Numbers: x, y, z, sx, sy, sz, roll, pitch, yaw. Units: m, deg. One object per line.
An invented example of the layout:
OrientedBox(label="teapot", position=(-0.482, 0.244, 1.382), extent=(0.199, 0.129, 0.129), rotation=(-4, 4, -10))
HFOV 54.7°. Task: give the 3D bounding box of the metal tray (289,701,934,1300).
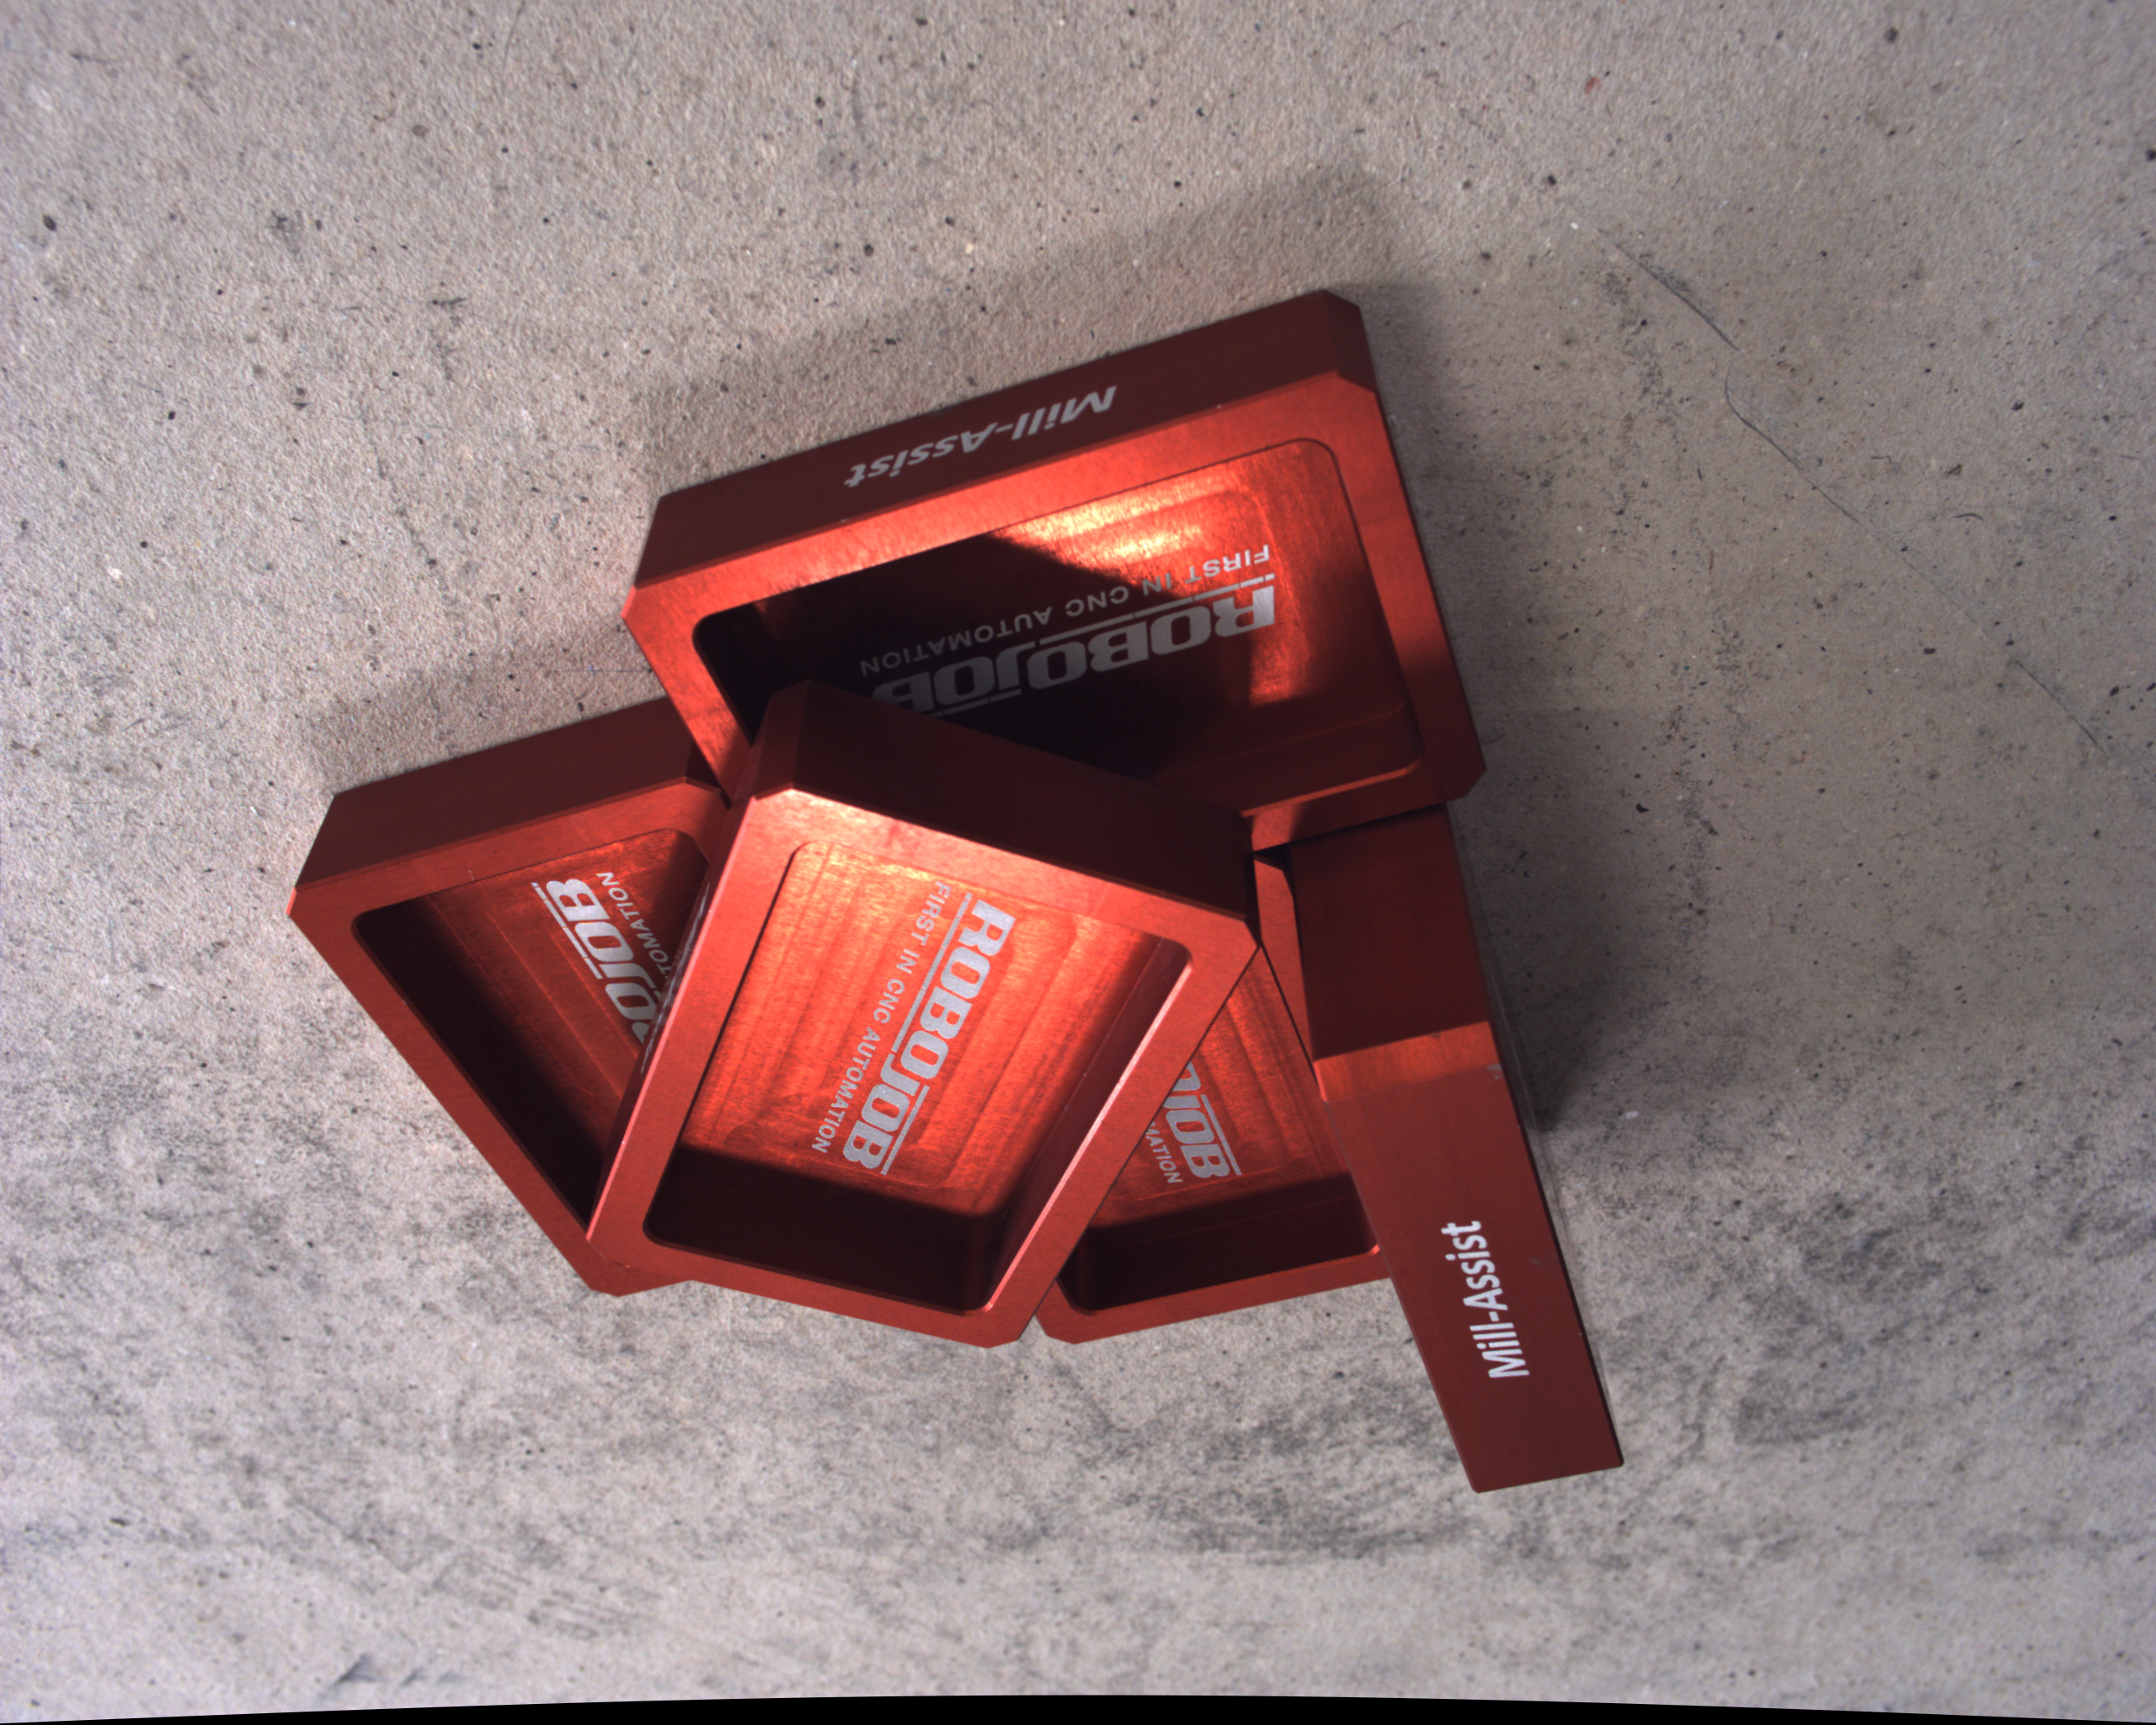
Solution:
OrientedBox(label="metal tray", position=(-0.086, 0.033, 0.431), extent=(0.090, 0.030, 0.130), rotation=(-14, 128, 12))

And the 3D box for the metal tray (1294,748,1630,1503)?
OrientedBox(label="metal tray", position=(0.075, 0.051, 0.407), extent=(0.030, 0.090, 0.130), rotation=(-14, 129, 11))

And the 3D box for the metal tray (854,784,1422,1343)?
OrientedBox(label="metal tray", position=(0.016, 0.046, 0.442), extent=(0.090, 0.030, 0.130), rotation=(-14, 130, 13))

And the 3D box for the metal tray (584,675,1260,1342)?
OrientedBox(label="metal tray", position=(-0.033, 0.034, 0.396), extent=(0.091, 0.030, 0.129), rotation=(17, 129, -14))

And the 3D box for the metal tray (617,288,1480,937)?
OrientedBox(label="metal tray", position=(-0.003, -0.039, 0.373), extent=(0.130, 0.030, 0.090), rotation=(-14, 129, 12))
